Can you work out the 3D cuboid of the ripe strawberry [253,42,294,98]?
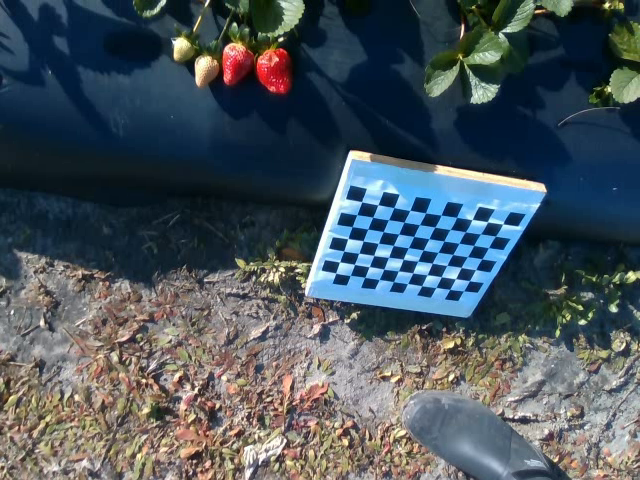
[{"bbox_3d":[-0.053,-0.212,0.763,0.056,0.067,0.051,-31,-18,21],"label":"ripe strawberry"}]

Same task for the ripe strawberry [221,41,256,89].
[{"bbox_3d":[-0.106,-0.222,0.757,0.050,0.061,0.043,28,-12,-27],"label":"ripe strawberry"}]
